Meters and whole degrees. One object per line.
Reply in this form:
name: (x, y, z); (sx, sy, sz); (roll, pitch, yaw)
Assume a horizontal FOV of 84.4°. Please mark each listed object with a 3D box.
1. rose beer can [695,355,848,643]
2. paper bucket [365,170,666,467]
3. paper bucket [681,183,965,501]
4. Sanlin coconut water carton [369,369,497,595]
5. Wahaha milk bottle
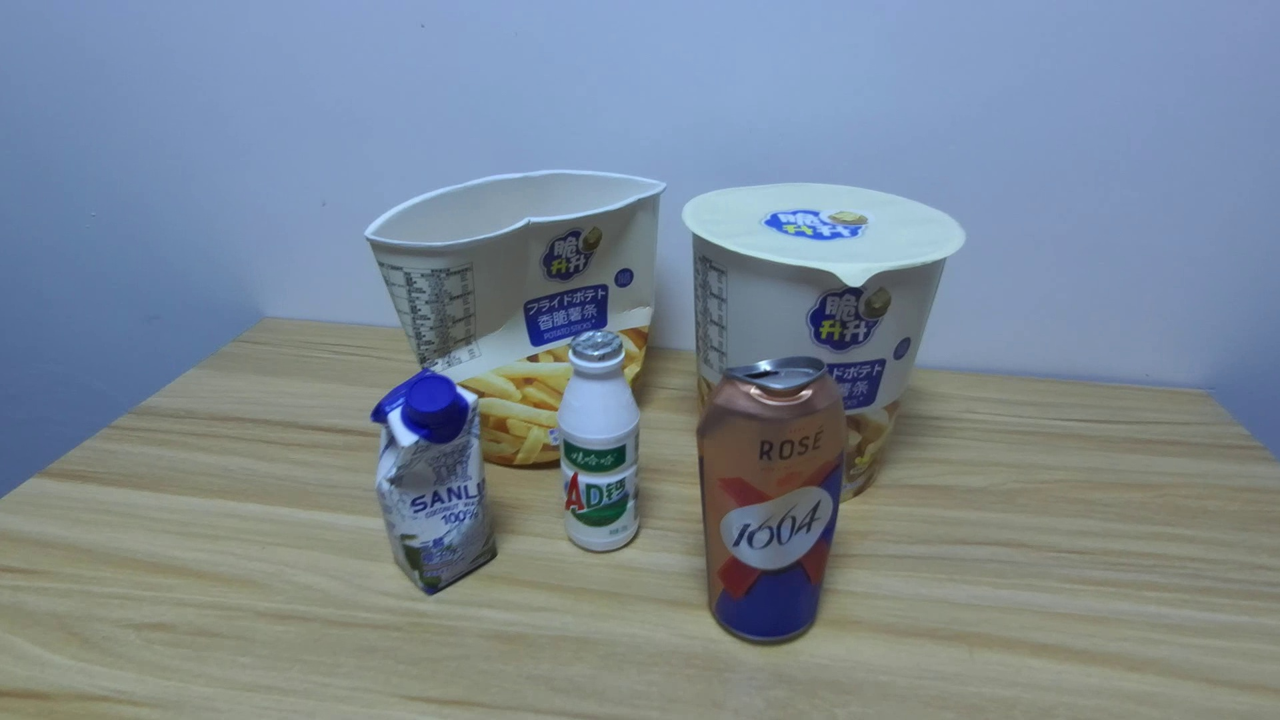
rose beer can: (0.074, 0.078, 0.395); (0.069, 0.168, 0.069); (10, 28, 22)
paper bucket: (-0.078, -0.036, 0.563); (0.147, 0.199, 0.218); (12, 32, 21)
paper bucket: (0.123, -0.014, 0.532); (0.198, 0.195, 0.198); (0, 29, 0)
Sanlin coconut water carton: (-0.130, 0.069, 0.433); (0.061, 0.144, 0.069); (-24, 38, -36)
Wahaha milk bottle: (-0.025, 0.054, 0.455); (0.053, 0.147, 0.053); (1, 29, 0)
